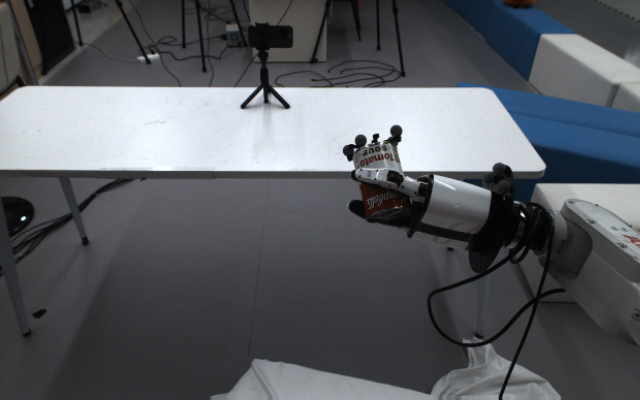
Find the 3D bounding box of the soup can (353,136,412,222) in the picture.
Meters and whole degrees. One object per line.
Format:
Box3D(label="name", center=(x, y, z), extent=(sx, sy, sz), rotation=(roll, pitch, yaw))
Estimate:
Box3D(label="soup can", center=(0.090, -0.026, 0.700), extent=(0.067, 0.067, 0.101), rotation=(-8, 74, -14))
